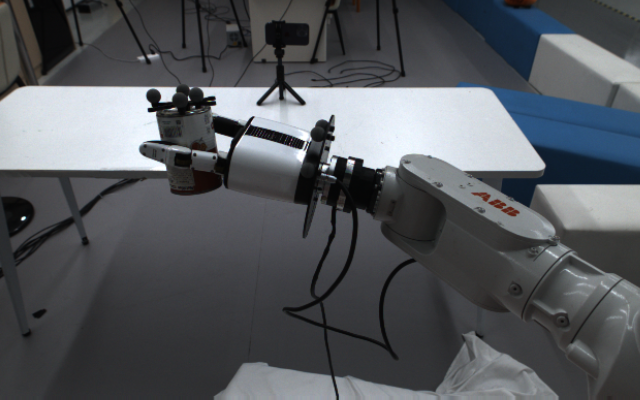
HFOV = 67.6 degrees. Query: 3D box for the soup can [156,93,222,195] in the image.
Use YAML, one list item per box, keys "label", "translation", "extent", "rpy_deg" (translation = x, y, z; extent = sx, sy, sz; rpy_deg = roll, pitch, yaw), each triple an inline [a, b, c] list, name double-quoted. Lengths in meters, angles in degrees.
- label: "soup can"
  translation: [-0.162, -0.063, 0.608]
  extent: [0.067, 0.101, 0.067]
  rpy_deg: [-4, 21, 1]
